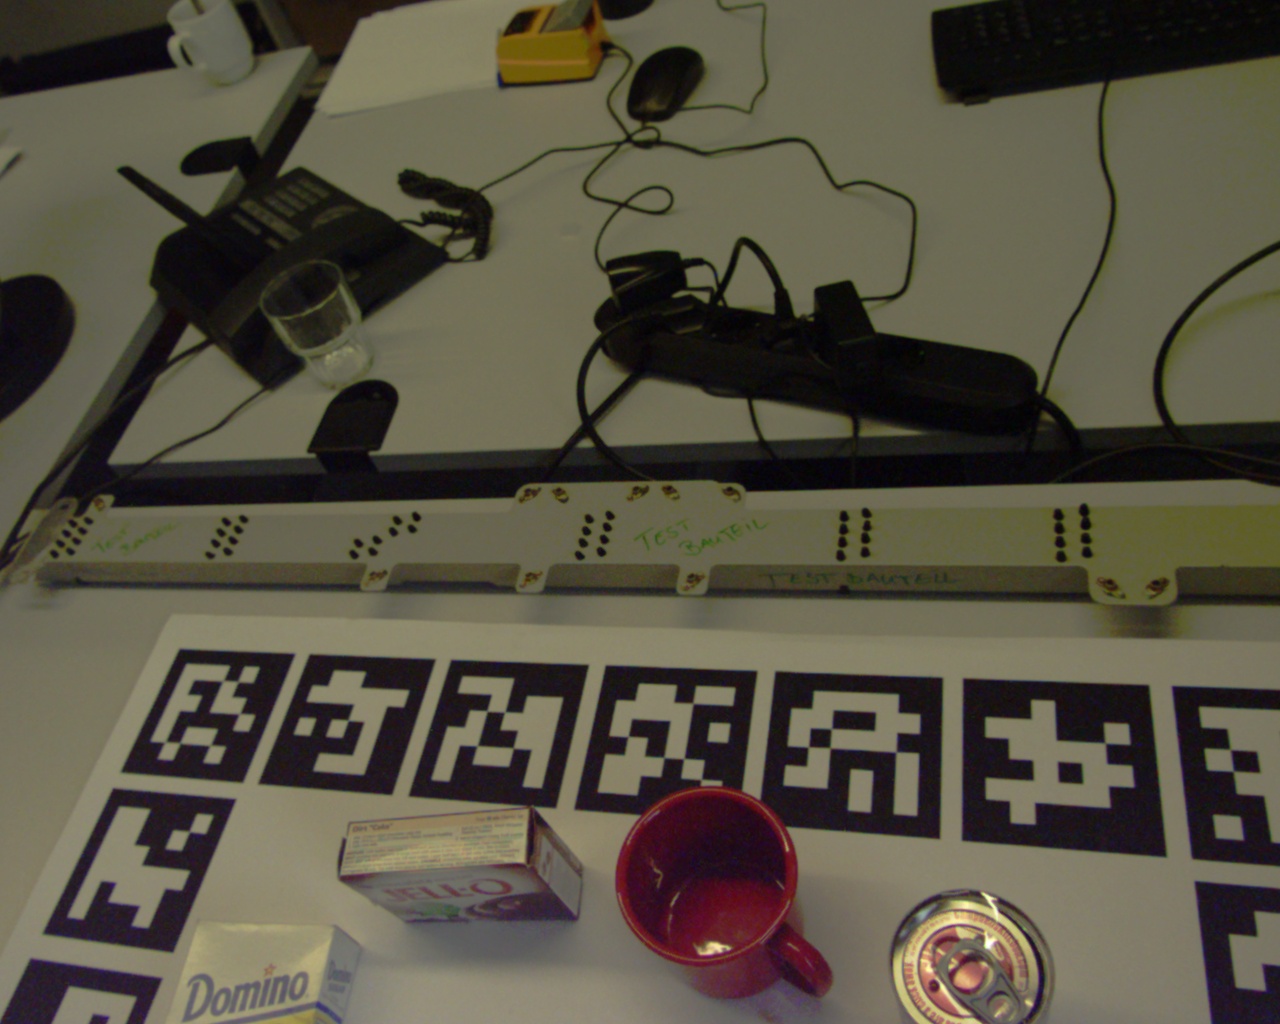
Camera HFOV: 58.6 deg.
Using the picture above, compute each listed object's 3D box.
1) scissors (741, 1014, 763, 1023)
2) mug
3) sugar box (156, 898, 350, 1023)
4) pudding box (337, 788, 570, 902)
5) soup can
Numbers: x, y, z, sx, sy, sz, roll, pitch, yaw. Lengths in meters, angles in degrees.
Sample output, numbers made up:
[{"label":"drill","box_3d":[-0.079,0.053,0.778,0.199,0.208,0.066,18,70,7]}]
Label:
[{"label":"scissors","box_3d":[0.111,0.326,0.543,0.088,0.015,0.205,-40,52,-1]},{"label":"mug","box_3d":[0.038,0.199,0.626,0.093,0.080,0.118,-30,49,-3]},{"label":"sugar box","box_3d":[-0.236,0.317,0.656,0.093,0.045,0.177,-4,54,18]},{"label":"pudding box","box_3d":[-0.107,0.196,0.668,0.114,0.089,0.039,-8,58,12]},{"label":"soup can","box_3d":[0.141,0.229,0.564,0.068,0.101,0.068,-10,49,11]}]
